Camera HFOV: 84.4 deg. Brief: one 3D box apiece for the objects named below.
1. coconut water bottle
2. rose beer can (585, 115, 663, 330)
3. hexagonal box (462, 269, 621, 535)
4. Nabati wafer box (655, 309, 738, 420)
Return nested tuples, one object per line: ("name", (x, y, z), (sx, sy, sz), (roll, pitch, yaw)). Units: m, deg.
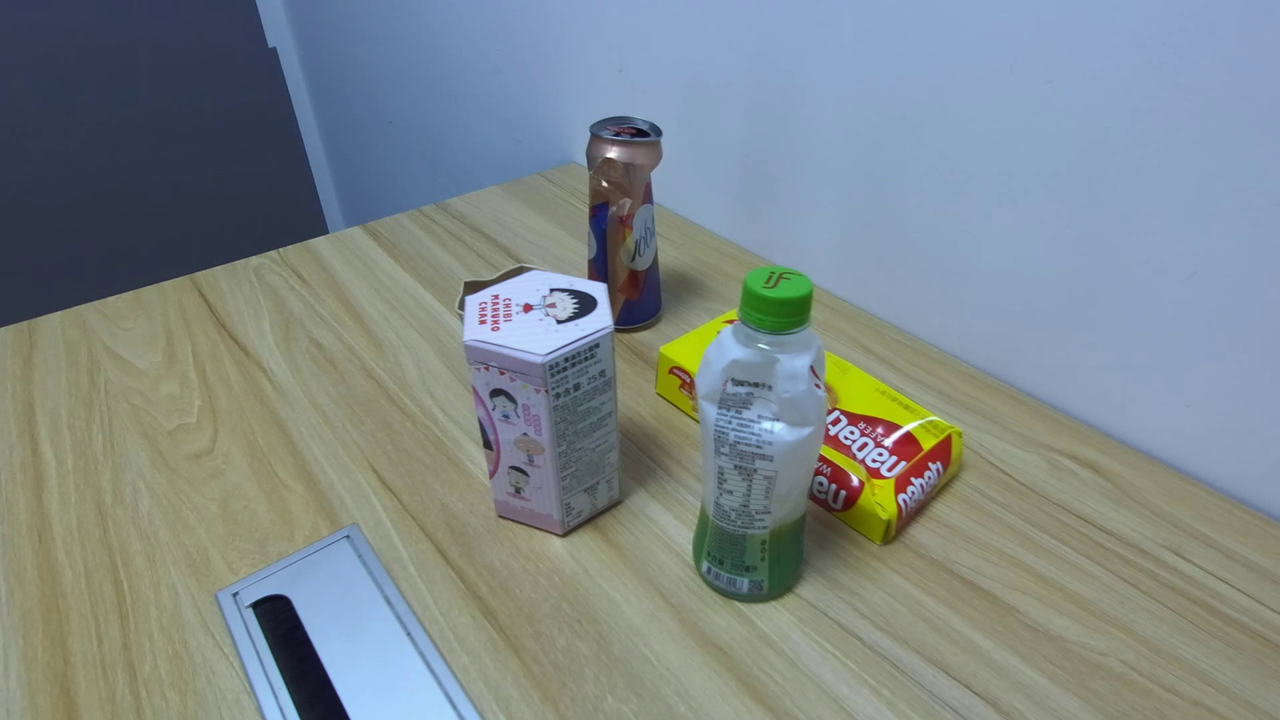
("coconut water bottle", (0.062, 0.042, 0.360), (0.067, 0.187, 0.067), (-1, 35, 1))
("rose beer can", (-0.011, -0.103, 0.571), (0.065, 0.167, 0.076), (14, 28, 18))
("hexagonal box", (-0.056, 0.027, 0.423), (0.084, 0.136, 0.091), (-6, 37, -8))
("Nabati wafer box", (0.110, 0.033, 0.489), (0.097, 0.042, 0.202), (-27, 47, -36))
